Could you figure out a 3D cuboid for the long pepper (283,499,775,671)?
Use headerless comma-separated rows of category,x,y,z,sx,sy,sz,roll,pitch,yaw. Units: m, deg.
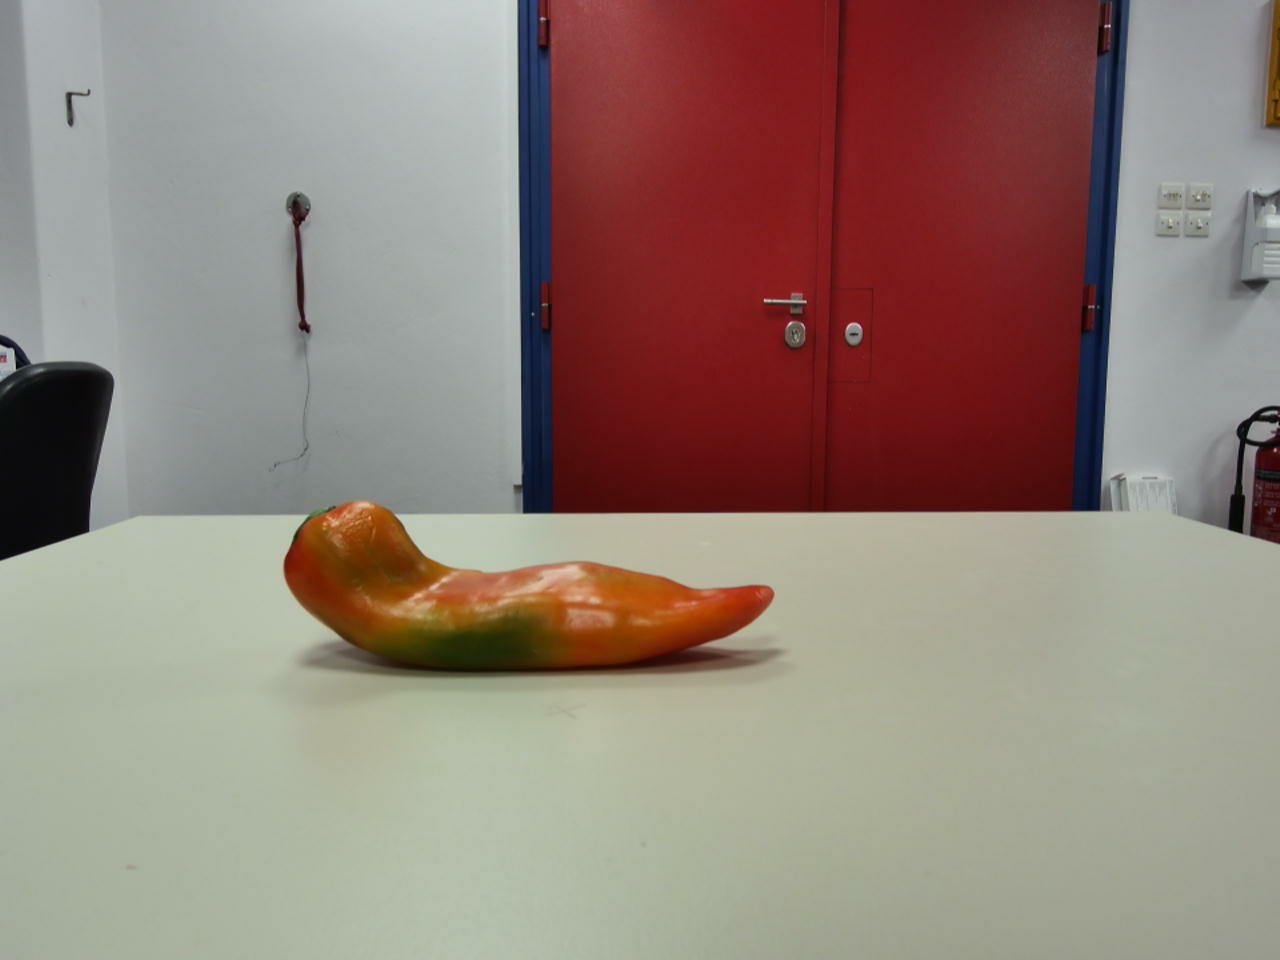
long pepper,-0.045,0.041,0.407,0.199,0.065,0.066,0,4,5
